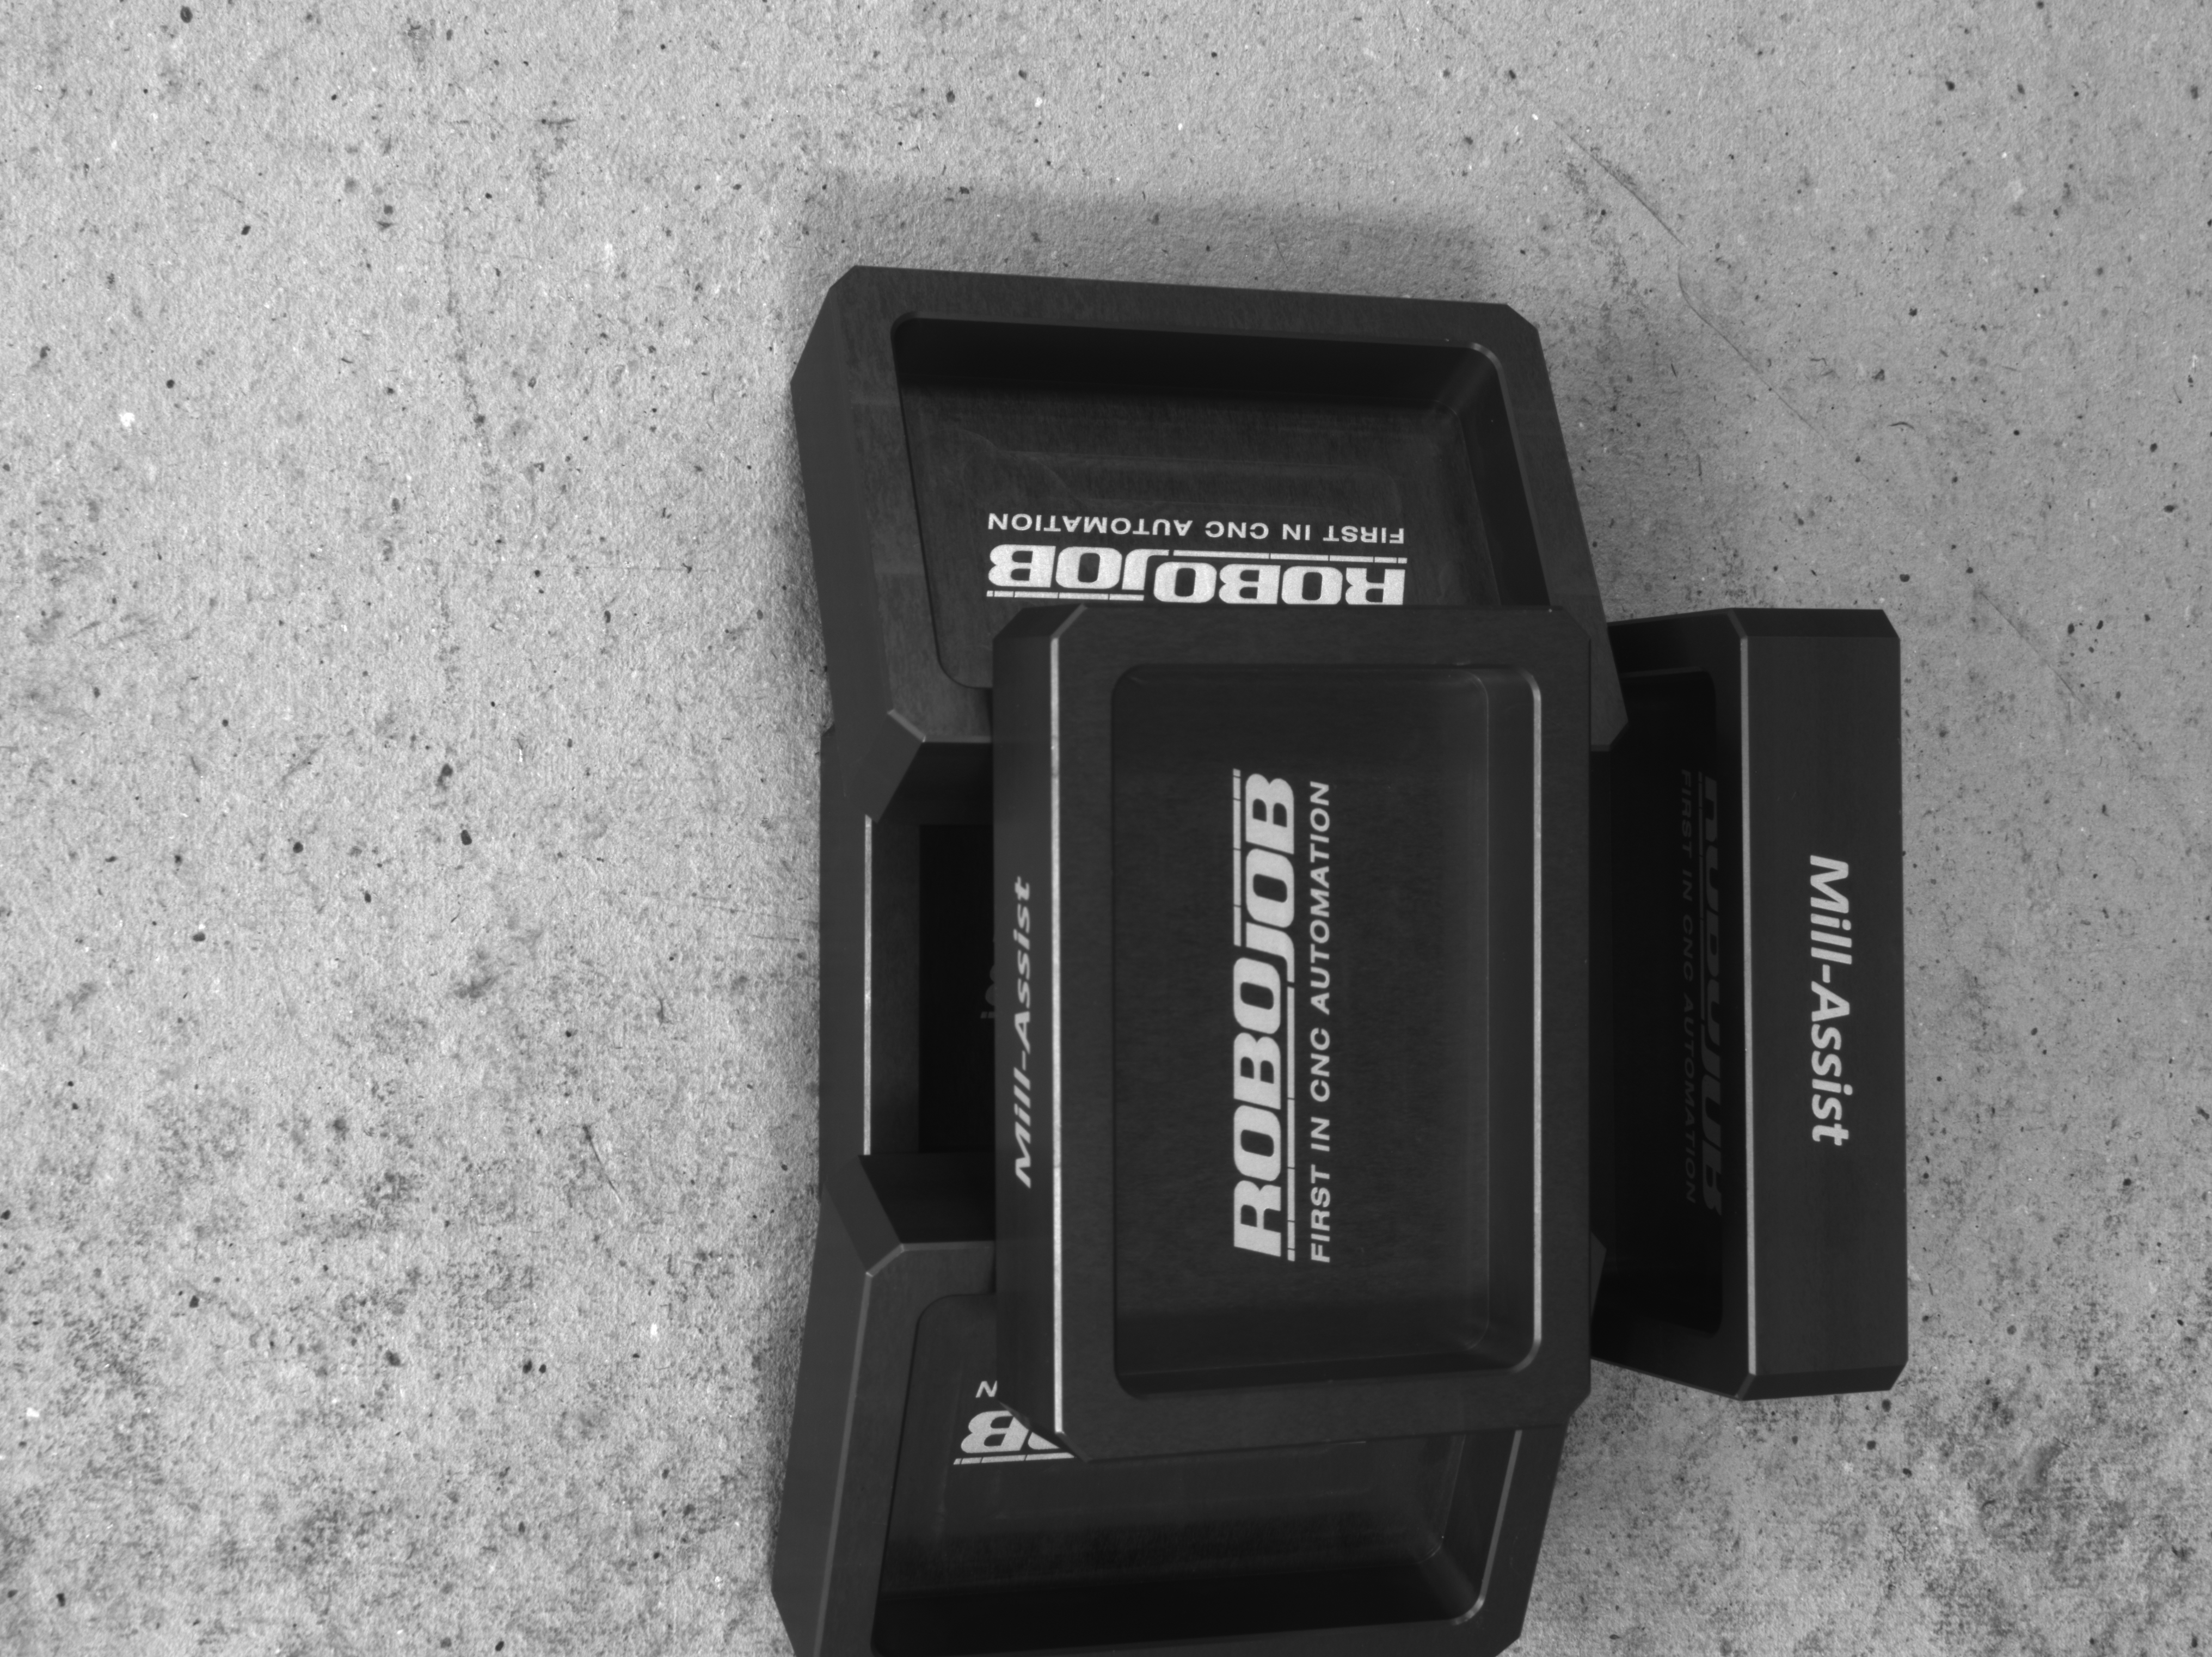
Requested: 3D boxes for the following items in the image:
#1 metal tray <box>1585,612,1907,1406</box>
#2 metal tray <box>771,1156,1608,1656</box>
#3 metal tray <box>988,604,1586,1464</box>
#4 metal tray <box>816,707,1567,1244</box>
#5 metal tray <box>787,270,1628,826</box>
[{"bbox_3d":[0.103,0.029,0.646,0.030,0.090,0.130,-1,91,-20],"label":"metal tray"},{"bbox_3d":[0.014,0.101,0.627,0.130,0.030,0.090,0,115,-20],"label":"metal tray"},{"bbox_3d":[0.029,0.030,0.582,0.090,0.030,0.130,-1,93,-20],"label":"metal tray"},{"bbox_3d":[0.016,0.024,0.645,0.130,0.030,0.090,-1,92,-20],"label":"metal tray"},{"bbox_3d":[0.017,-0.047,0.629,0.130,0.030,0.090,0,63,-20],"label":"metal tray"}]
